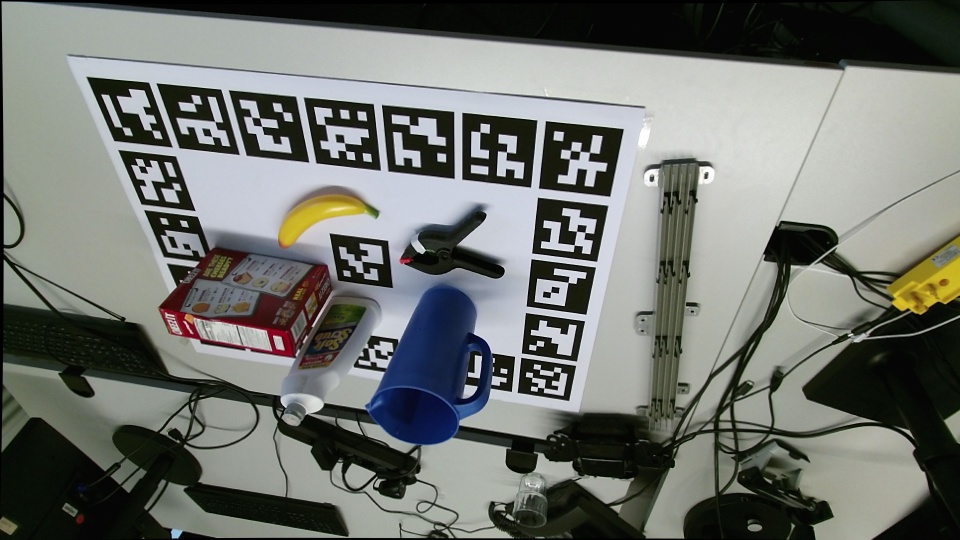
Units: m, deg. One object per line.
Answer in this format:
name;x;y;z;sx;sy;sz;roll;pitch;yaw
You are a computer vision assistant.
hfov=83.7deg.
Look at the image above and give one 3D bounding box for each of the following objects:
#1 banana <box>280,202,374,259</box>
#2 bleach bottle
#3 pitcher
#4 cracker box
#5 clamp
banana;-0.270;-0.068;0.885;0.198;0.038;0.074;-21;121;26
bleach bottle;-0.255;0.159;0.915;0.103;0.250;0.068;8;129;6
pitcher;-0.071;0.166;0.856;0.189;0.241;0.133;-6;126;20
cracker box;-0.400;0.063;0.906;0.214;0.163;0.072;8;131;3
clamp;-0.055;-0.014;0.871;0.165;0.036;0.122;-4;128;17
